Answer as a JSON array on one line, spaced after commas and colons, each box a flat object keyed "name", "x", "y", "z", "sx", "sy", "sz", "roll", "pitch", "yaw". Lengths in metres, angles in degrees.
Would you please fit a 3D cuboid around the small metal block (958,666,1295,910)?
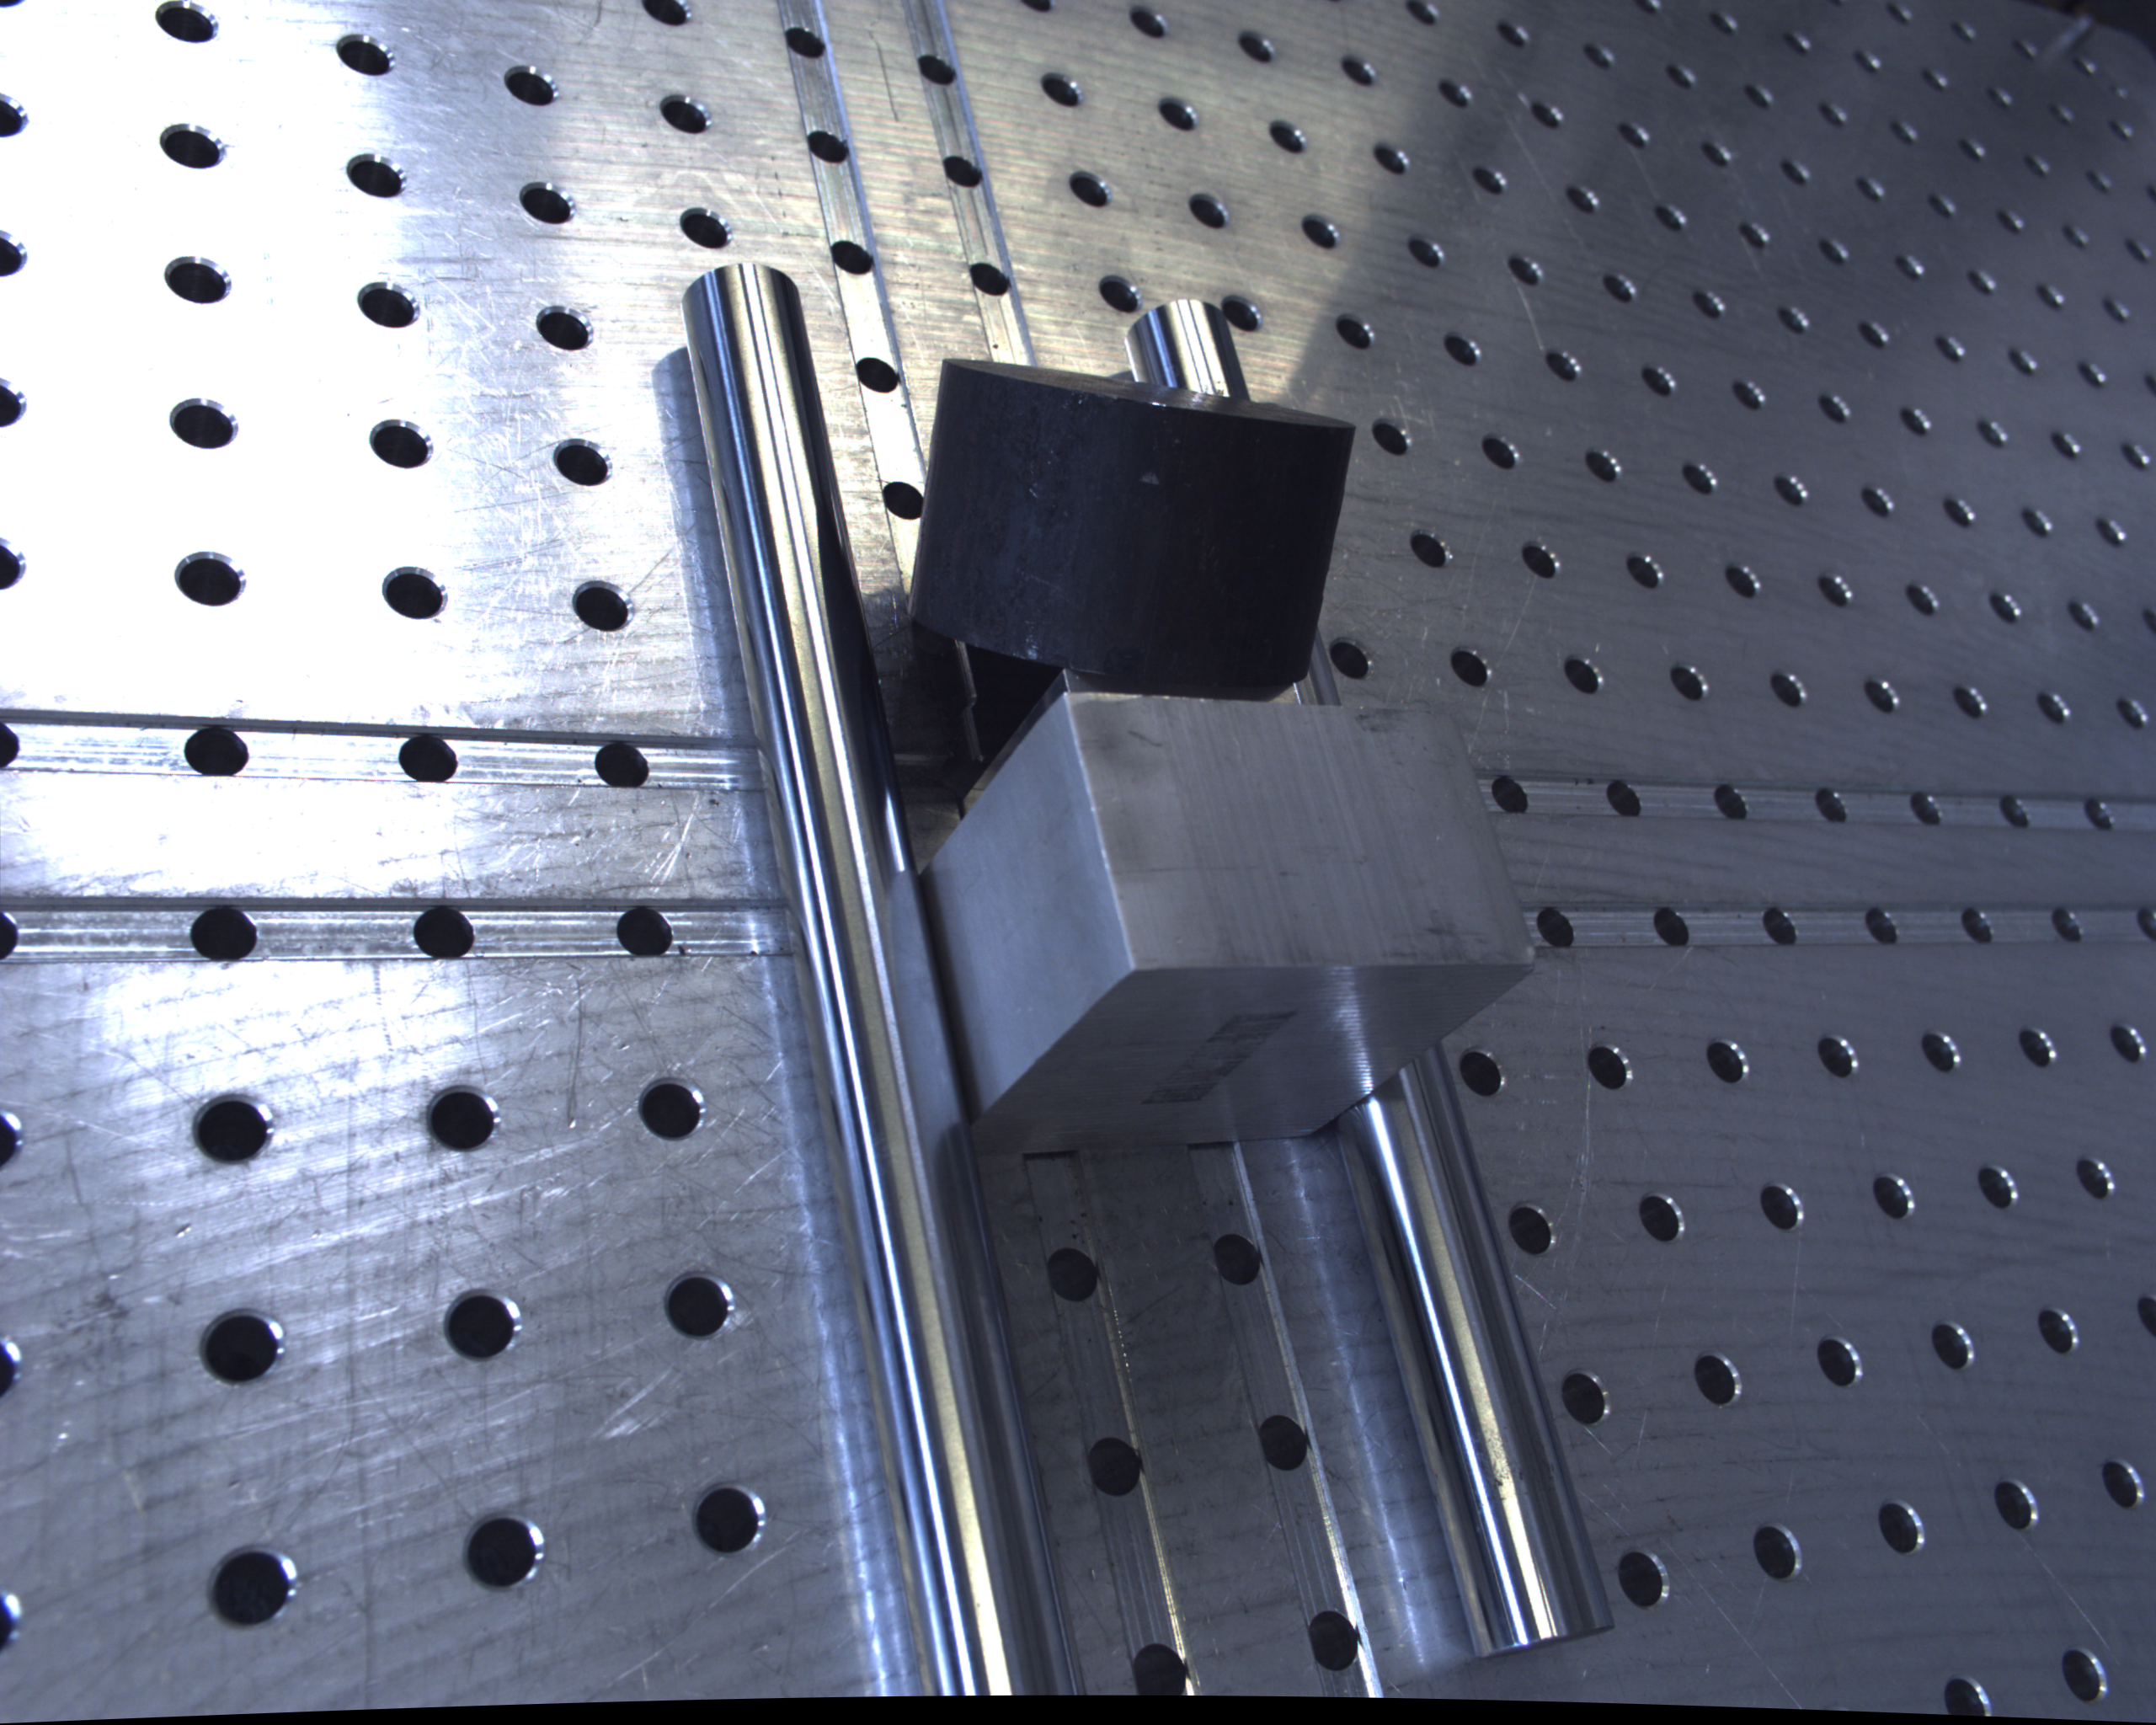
[{"name": "small metal block", "x": 0.011, "y": -0.013, "z": 0.406, "sx": 0.050, "sy": 0.050, "sz": 0.025, "roll": 2, "pitch": 61, "yaw": -28}]

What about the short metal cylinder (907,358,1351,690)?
[{"name": "short metal cylinder", "x": 0.010, "y": -0.068, "z": 0.411, "sx": 0.081, "sy": 0.050, "sz": 0.080, "roll": 9, "pitch": 15, "yaw": -2}]

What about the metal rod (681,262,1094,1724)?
[{"name": "metal rod", "x": -0.039, "y": 0.013, "z": 0.378, "sx": 0.025, "sy": 0.025, "sz": 0.299, "roll": 1, "pitch": 61, "yaw": -28}]

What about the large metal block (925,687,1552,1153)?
[{"name": "large metal block", "x": 0.022, "y": 0.013, "z": 0.374, "sx": 0.081, "sy": 0.080, "sz": 0.050, "roll": 1, "pitch": 62, "yaw": -28}]

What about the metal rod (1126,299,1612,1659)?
[{"name": "metal rod", "x": 0.053, "y": 0.006, "z": 0.432, "sx": 0.025, "sy": 0.025, "sz": 0.299, "roll": 2, "pitch": 61, "yaw": -27}]
